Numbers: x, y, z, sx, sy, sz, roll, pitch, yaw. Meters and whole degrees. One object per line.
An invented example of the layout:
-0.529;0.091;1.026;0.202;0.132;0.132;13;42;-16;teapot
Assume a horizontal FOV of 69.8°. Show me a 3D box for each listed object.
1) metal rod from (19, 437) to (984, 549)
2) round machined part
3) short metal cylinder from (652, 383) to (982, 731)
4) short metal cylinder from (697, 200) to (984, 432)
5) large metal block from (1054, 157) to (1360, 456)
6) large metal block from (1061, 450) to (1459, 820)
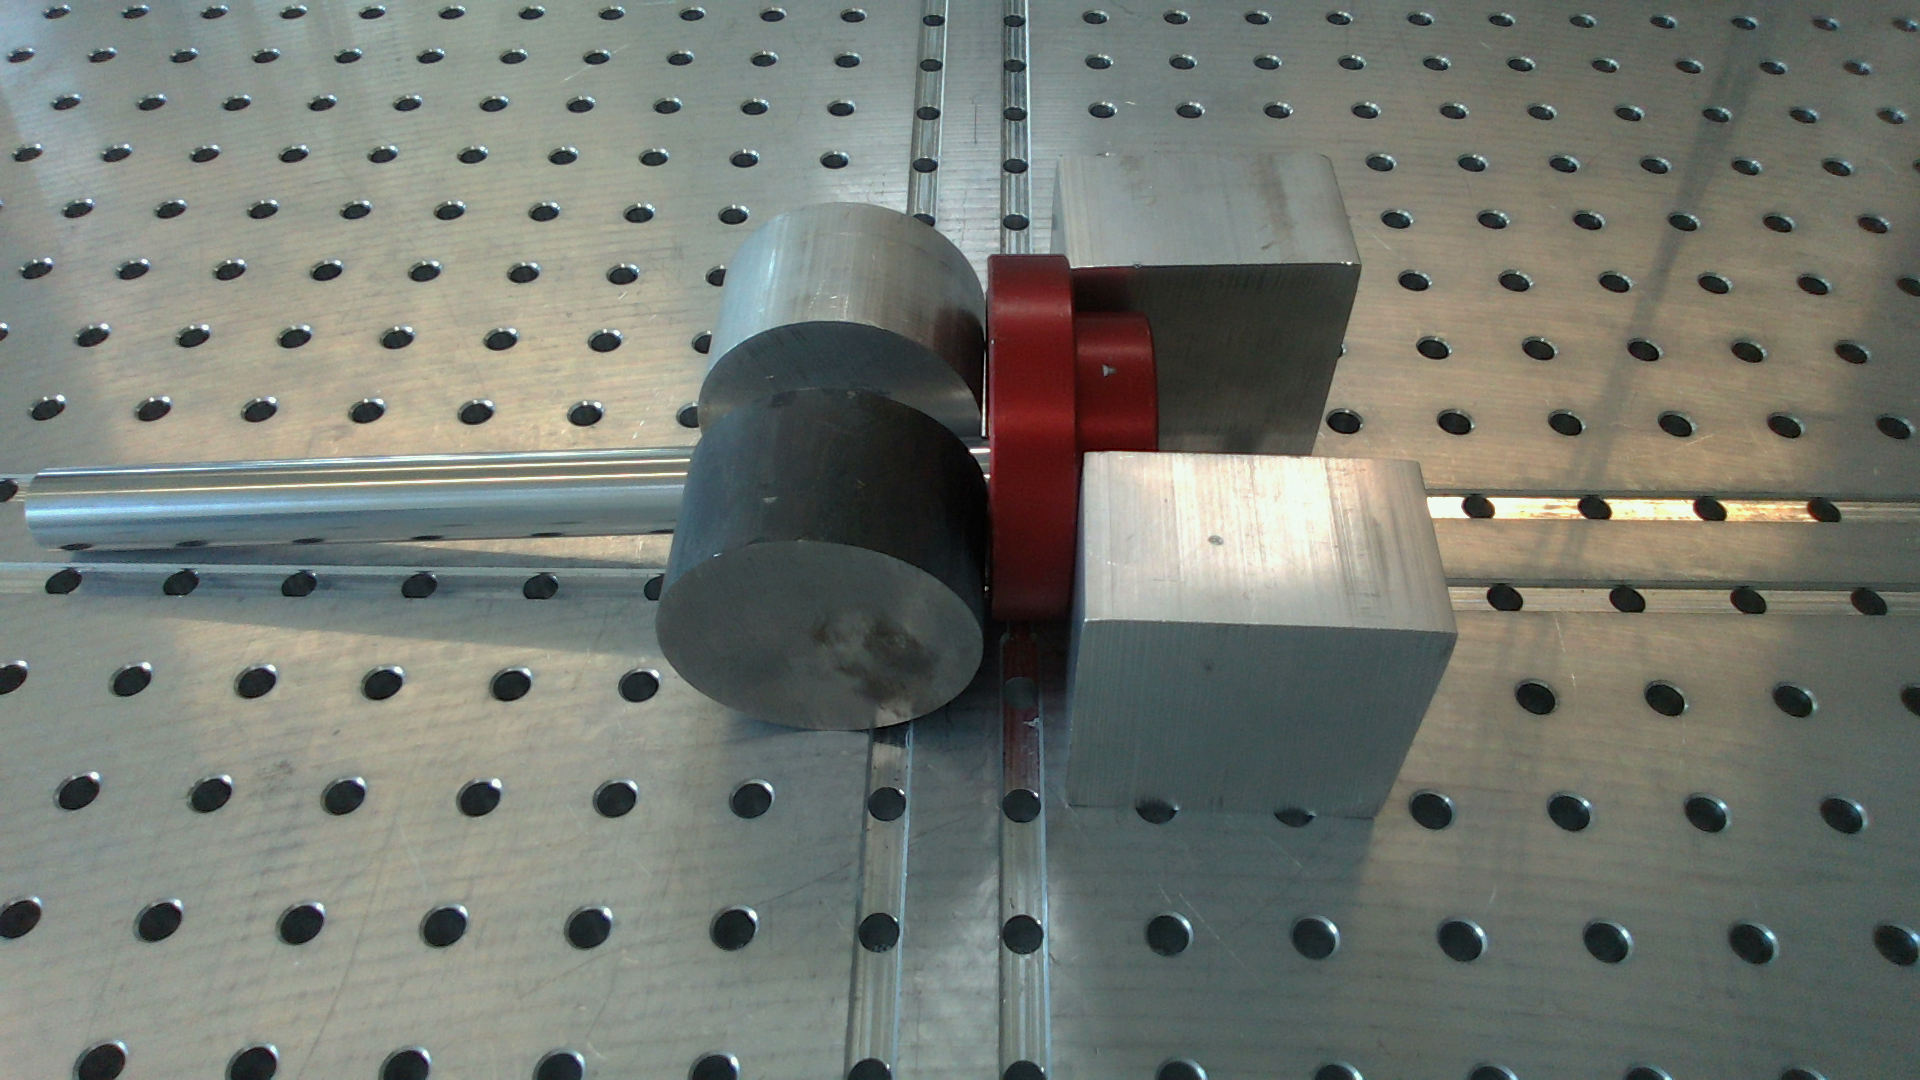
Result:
-0.115;-0.013;0.390;0.300;0.025;0.025;-1;50;4;metal rod
0.028;-0.028;0.370;0.042;0.098;0.098;1;50;1;round machined part
-0.034;0.006;0.352;0.080;0.080;0.050;1;50;1;short metal cylinder
-0.033;-0.051;0.402;0.080;0.080;0.050;1;50;1;short metal cylinder
0.068;-0.067;0.416;0.080;0.080;0.050;0;50;0;large metal block
0.067;0.025;0.338;0.080;0.080;0.050;2;50;2;large metal block
